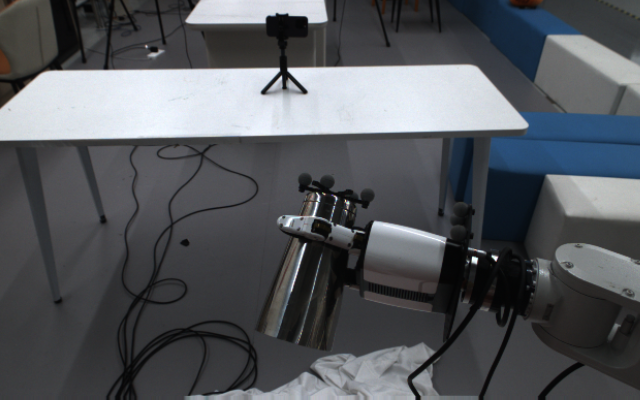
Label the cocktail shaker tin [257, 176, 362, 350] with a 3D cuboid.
[{"bbox_3d":[-0.006,0.079,0.574,0.093,0.093,0.170,13,76,15],"label":"cocktail shaker tin"}]
